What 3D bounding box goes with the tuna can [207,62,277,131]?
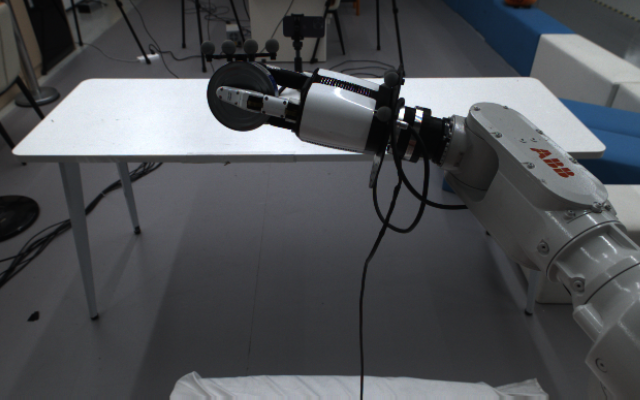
[{"bbox_3d":[-0.094,-0.132,0.612,0.085,0.085,0.034,4,18,3],"label":"tuna can"}]
